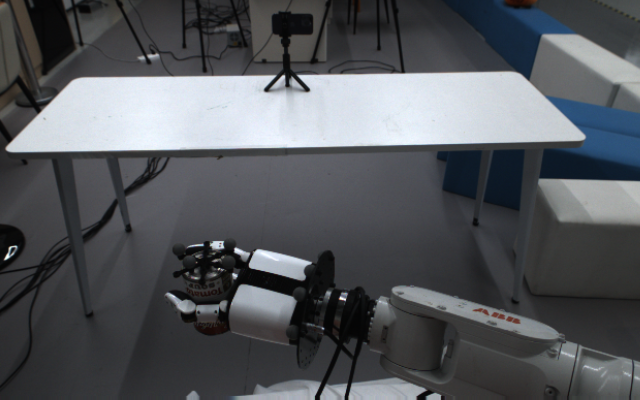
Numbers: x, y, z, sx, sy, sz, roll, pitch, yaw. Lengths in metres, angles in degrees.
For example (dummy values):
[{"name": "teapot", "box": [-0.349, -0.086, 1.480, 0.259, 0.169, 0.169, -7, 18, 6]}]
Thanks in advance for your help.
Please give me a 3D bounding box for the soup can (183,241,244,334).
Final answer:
[{"name": "soup can", "box": [-0.152, 0.130, 0.677, 0.067, 0.101, 0.067, -2, 32, 2]}]
